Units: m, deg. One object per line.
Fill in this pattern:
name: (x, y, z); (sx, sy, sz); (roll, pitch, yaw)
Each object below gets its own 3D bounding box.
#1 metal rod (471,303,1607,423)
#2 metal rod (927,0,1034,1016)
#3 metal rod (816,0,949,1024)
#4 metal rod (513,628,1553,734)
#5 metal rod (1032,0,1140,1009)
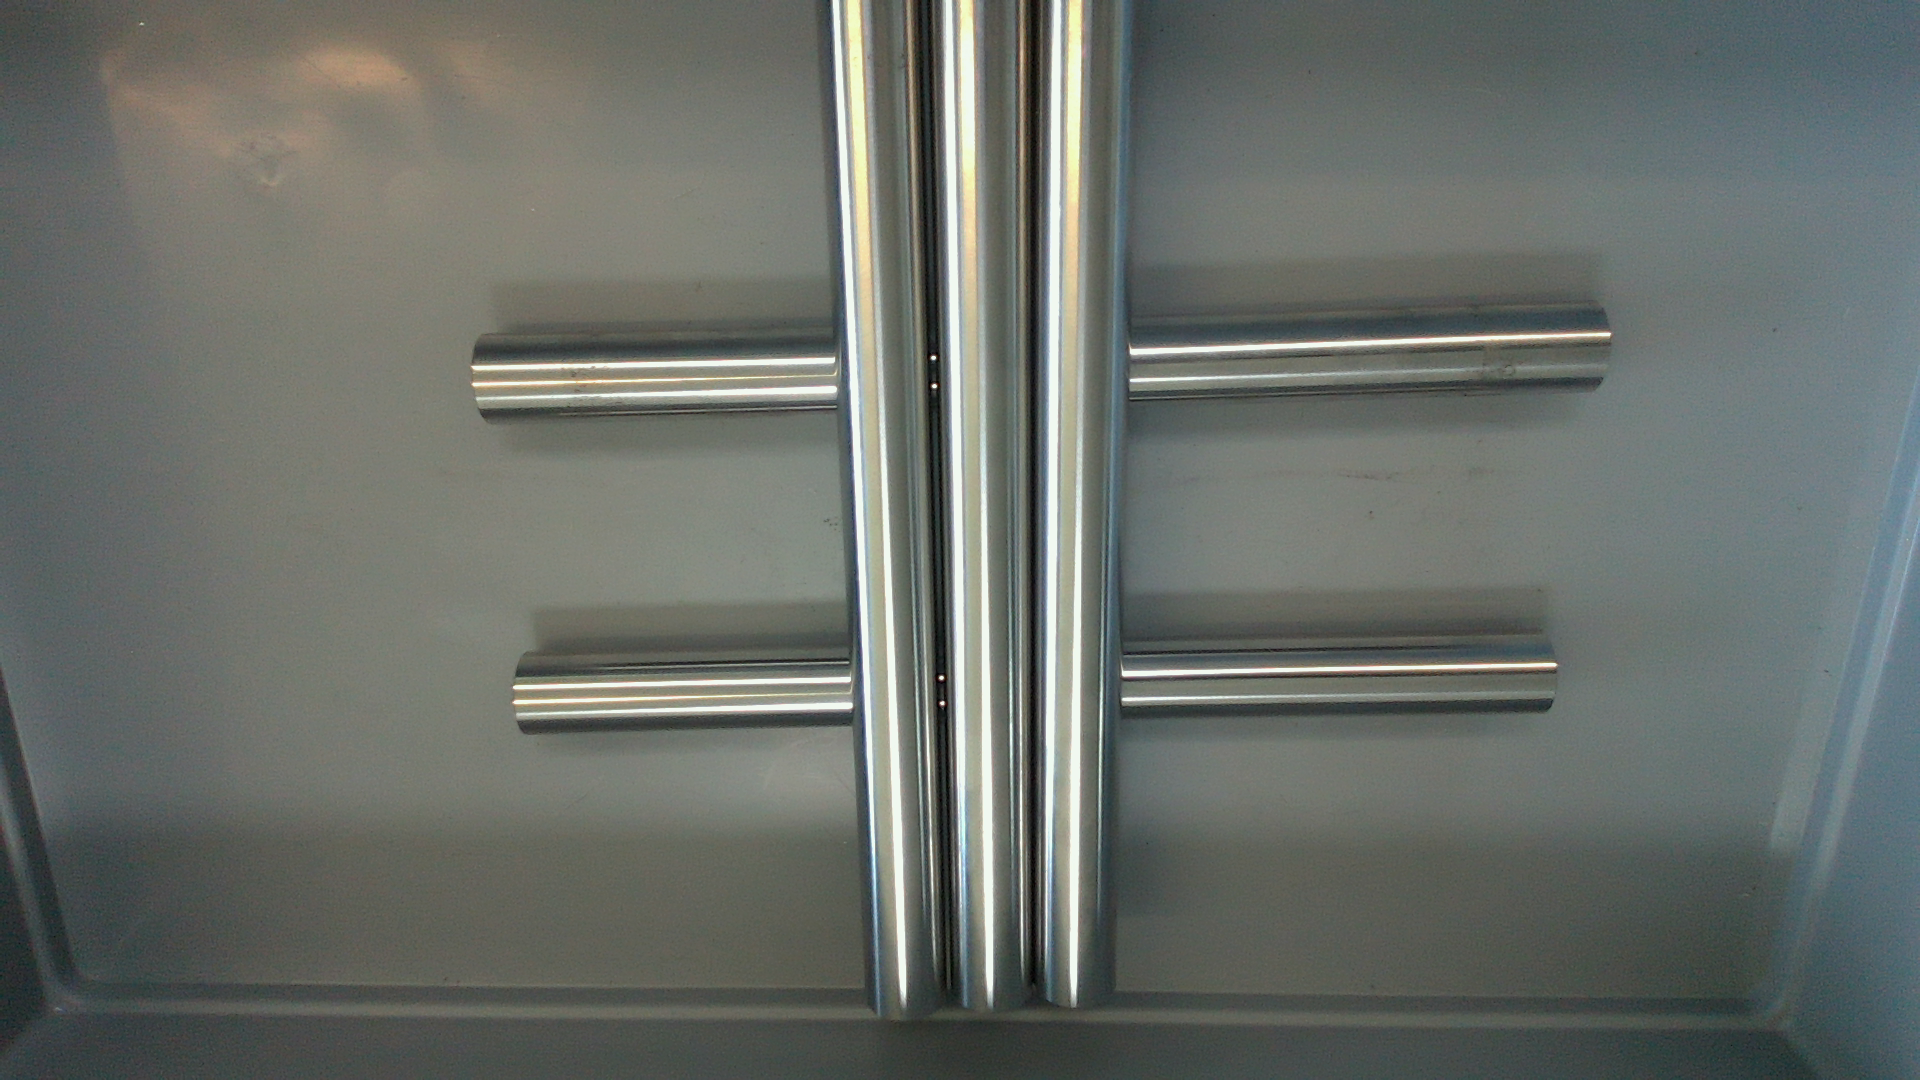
metal rod: (0.021, -0.048, 0.376); (0.300, 0.025, 0.025); (-1, 110, 0)
metal rod: (0.007, -0.005, 0.363); (0.025, 0.025, 0.300); (-1, 110, 0)
metal rod: (-0.019, -0.003, 0.364); (0.025, 0.025, 0.300); (-1, 110, 0)
metal rod: (0.021, 0.042, 0.409); (0.300, 0.025, 0.025); (-1, 110, 0)
metal rod: (0.032, -0.008, 0.363); (0.025, 0.025, 0.300); (-1, 110, 0)
